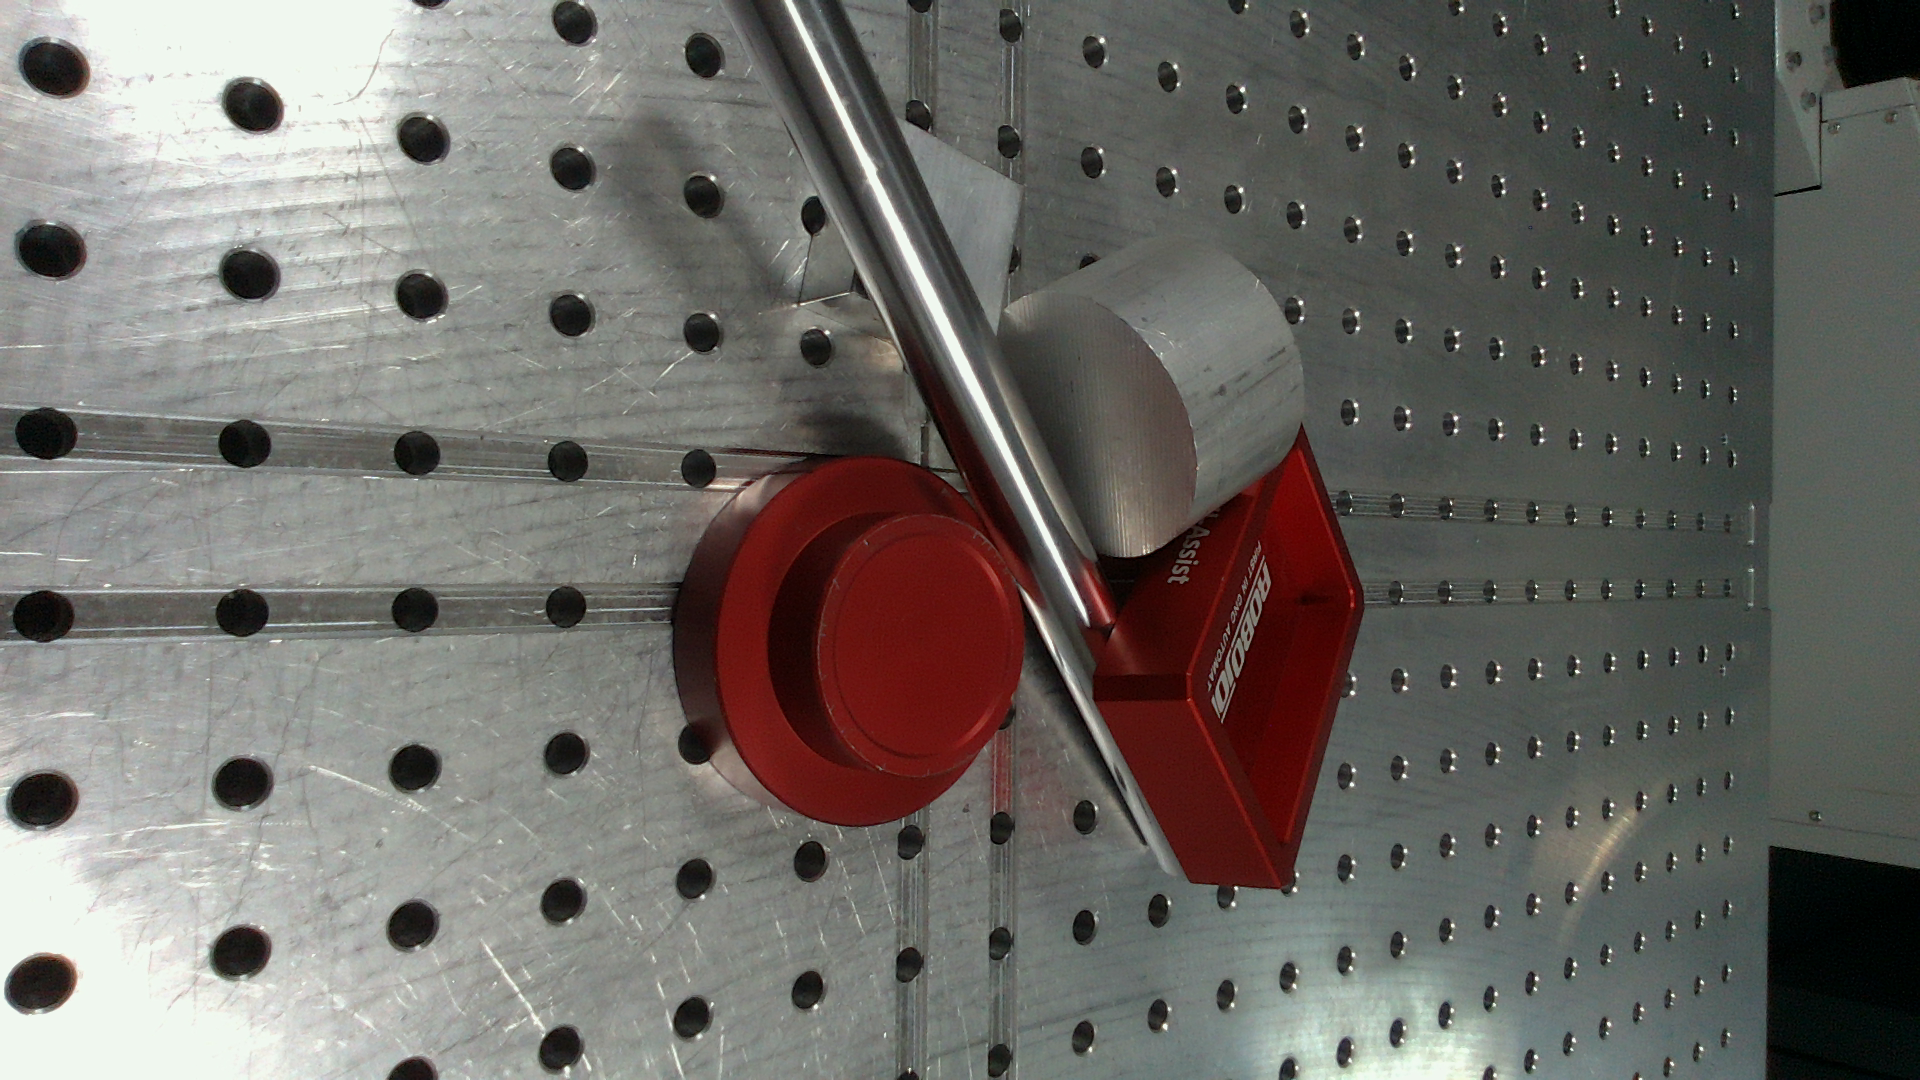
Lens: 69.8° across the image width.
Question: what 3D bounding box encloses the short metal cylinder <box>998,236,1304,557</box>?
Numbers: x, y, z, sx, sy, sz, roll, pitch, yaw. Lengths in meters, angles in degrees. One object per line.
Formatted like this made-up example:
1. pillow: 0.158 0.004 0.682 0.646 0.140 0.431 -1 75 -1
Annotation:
1. short metal cylinder: 0.051 -0.042 0.399 0.050 0.080 0.080 -31 109 -35

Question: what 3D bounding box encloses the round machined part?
1. round machined part: -0.022 0.027 0.362 0.098 0.042 0.098 0 90 -40

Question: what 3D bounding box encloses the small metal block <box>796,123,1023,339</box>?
1. small metal block: -0.013 -0.082 0.381 0.050 0.025 0.050 17 79 -39

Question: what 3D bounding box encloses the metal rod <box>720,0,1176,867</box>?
1. metal rod: 0.015 -0.015 0.383 0.025 0.025 0.300 -47 126 -30

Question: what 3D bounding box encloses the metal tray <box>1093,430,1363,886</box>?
1. metal tray: 0.090 0.031 0.437 0.090 0.030 0.130 61 40 -31
